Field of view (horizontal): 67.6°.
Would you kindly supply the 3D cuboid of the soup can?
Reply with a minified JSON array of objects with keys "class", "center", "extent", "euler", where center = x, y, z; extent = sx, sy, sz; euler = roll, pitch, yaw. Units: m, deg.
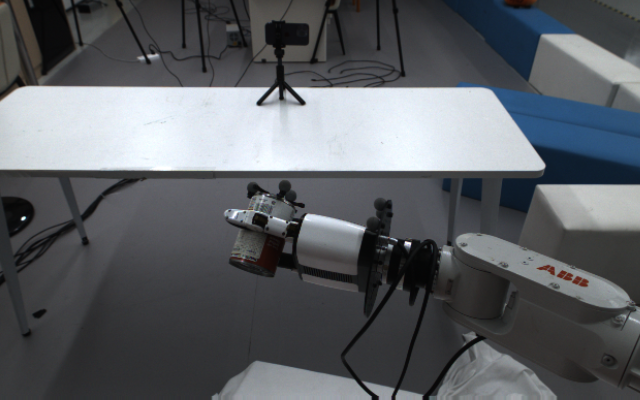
[{"class":"soup can","center":[-0.080,0.049,0.677],"extent":[0.067,0.067,0.101],"euler":[12,70,14]}]
